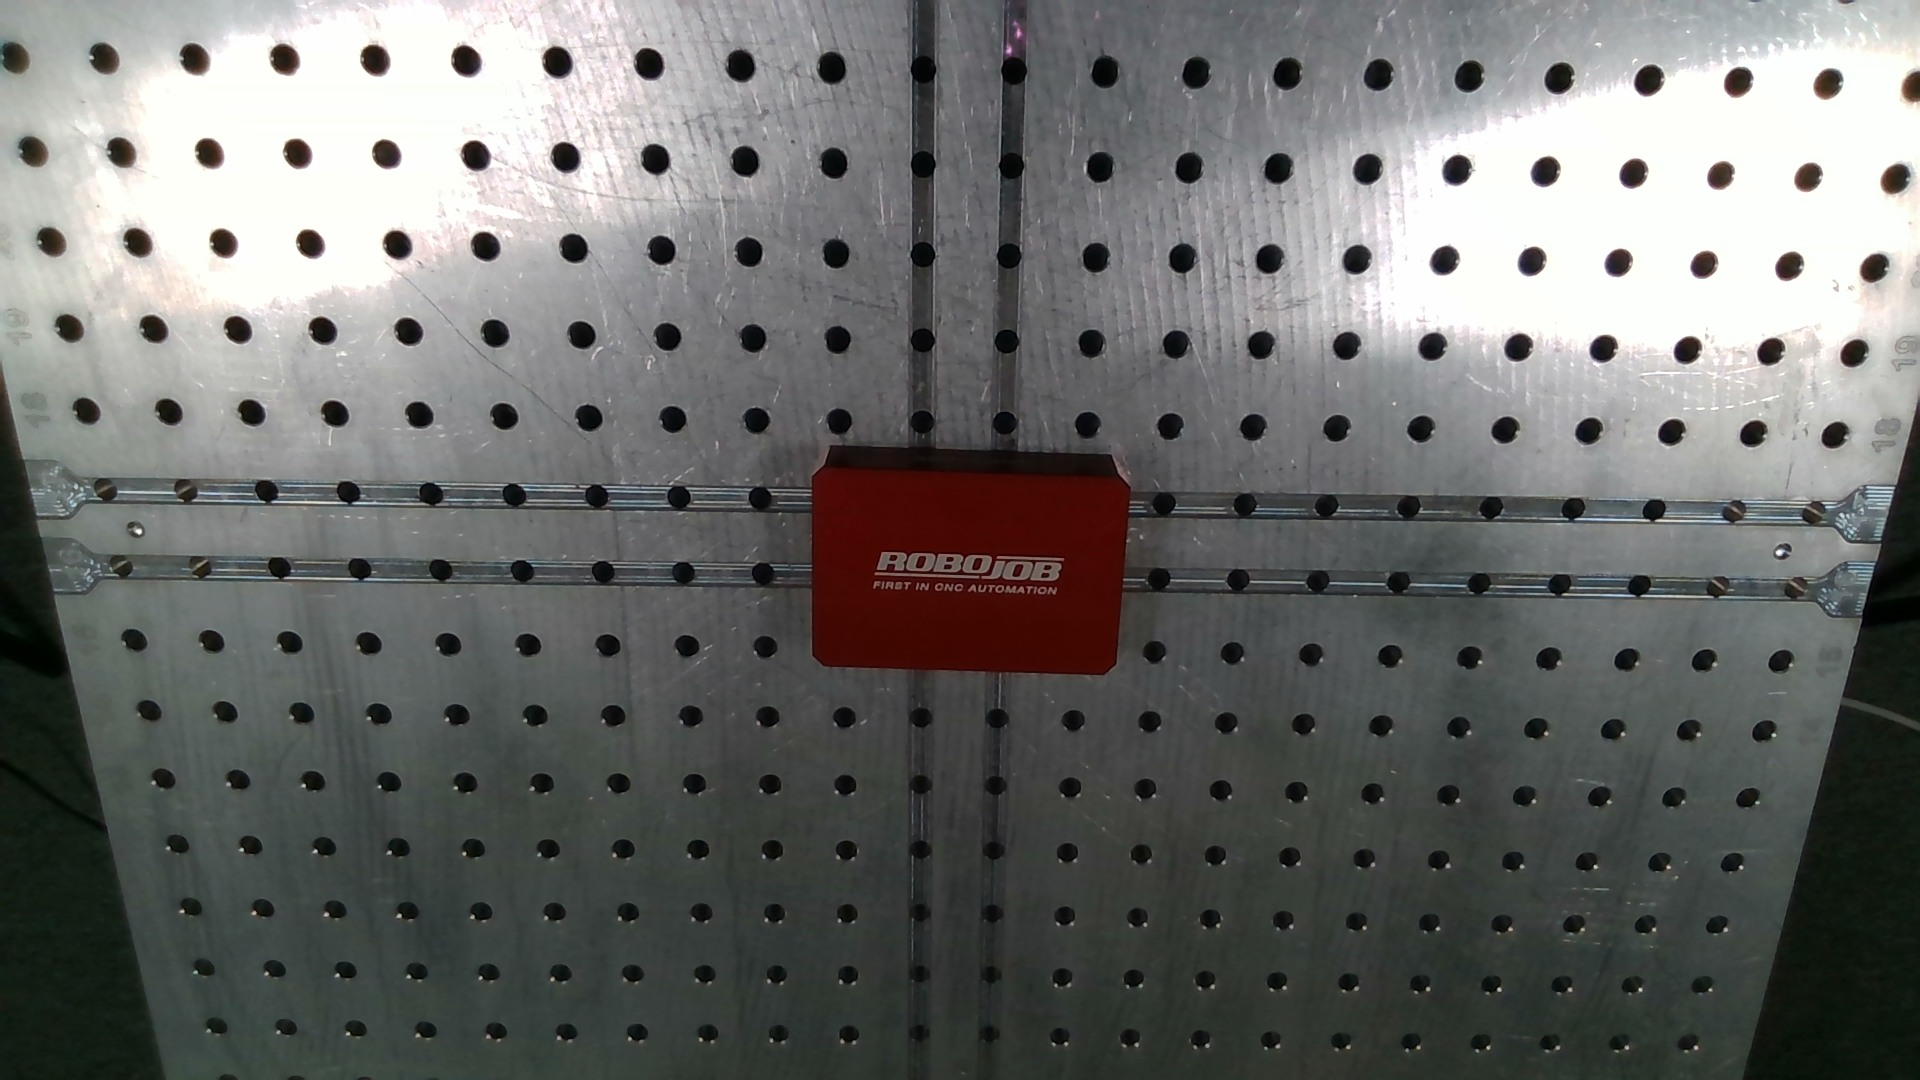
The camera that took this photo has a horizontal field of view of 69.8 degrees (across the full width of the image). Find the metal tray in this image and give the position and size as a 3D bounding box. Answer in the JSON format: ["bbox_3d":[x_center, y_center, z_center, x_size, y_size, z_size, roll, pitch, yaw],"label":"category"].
[{"bbox_3d":[0.003,0.008,0.587,0.130,0.030,0.090,2,110,-1],"label":"metal tray"}]
